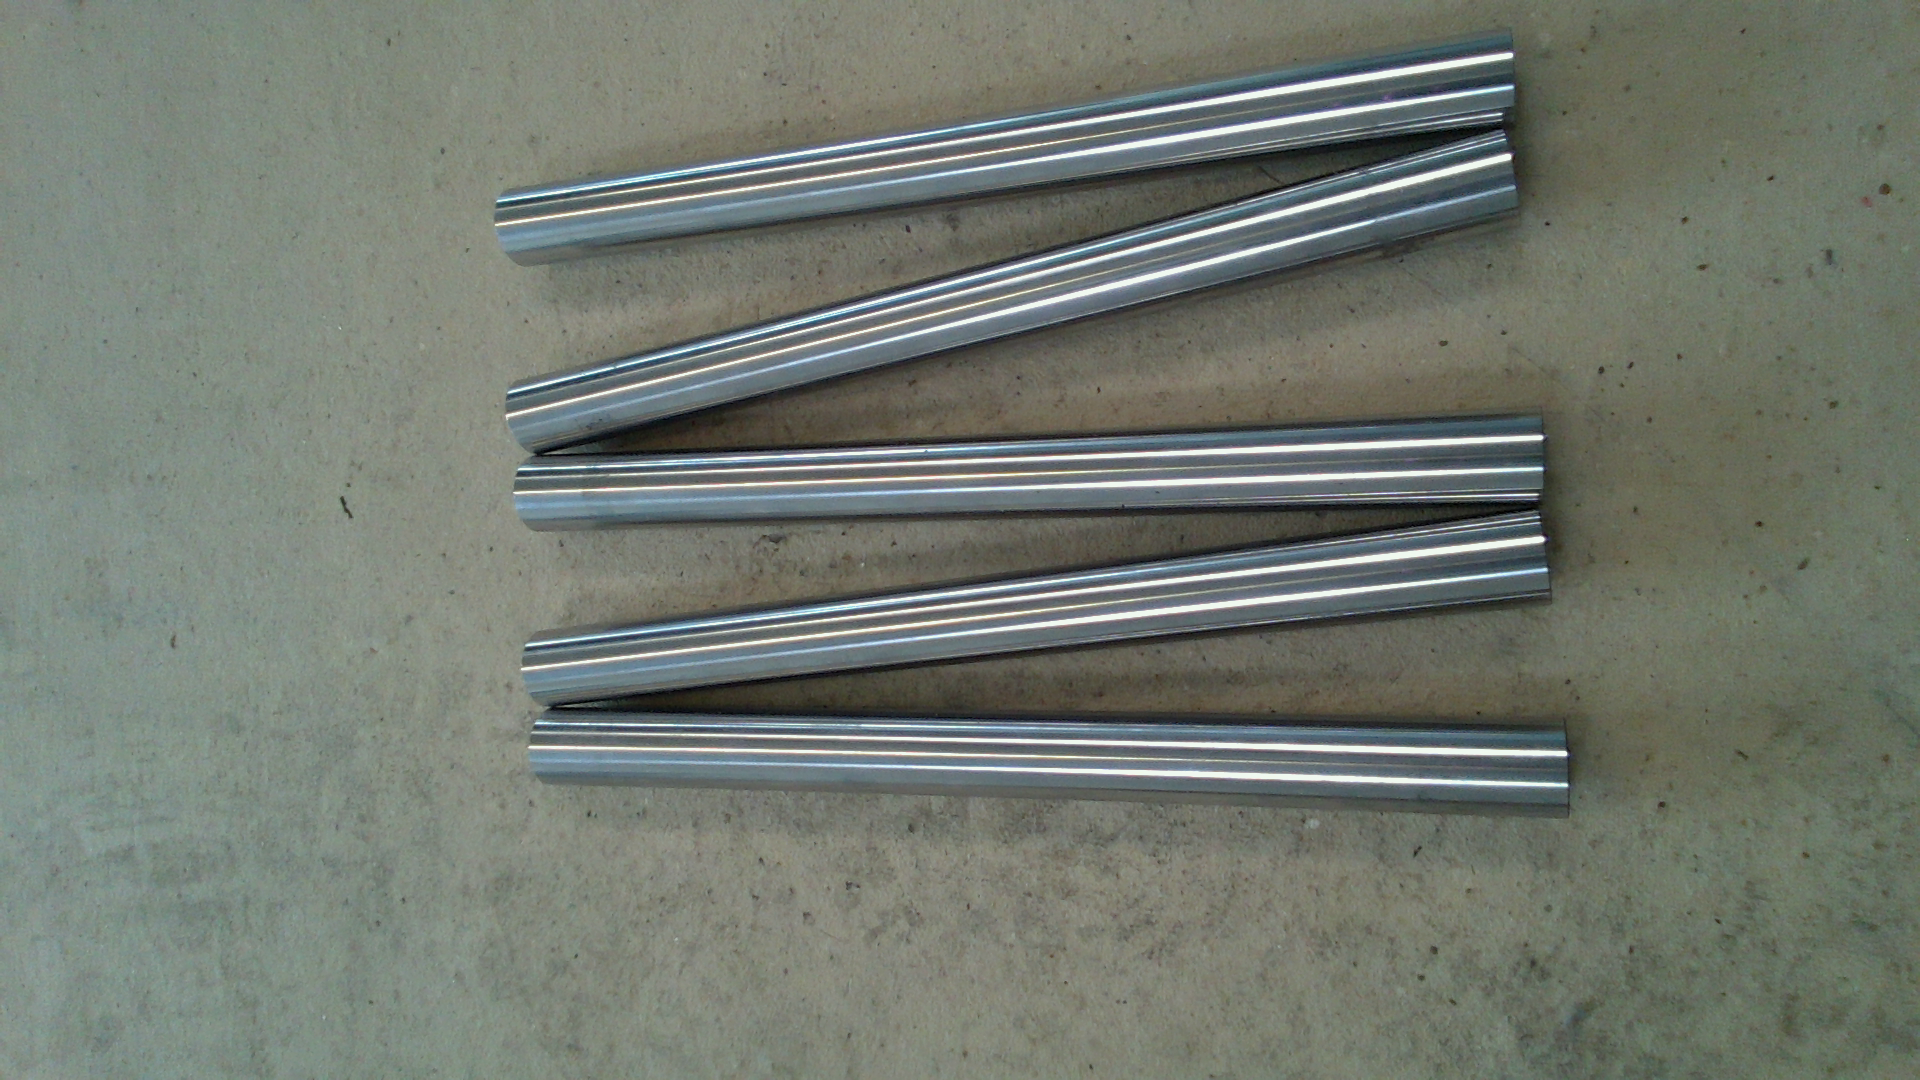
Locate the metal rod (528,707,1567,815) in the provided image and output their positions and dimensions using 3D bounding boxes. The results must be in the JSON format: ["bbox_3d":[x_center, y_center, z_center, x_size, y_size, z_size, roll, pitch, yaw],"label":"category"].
[{"bbox_3d":[0.010,0.061,0.393,0.299,0.025,0.025,-2,89,20],"label":"metal rod"}]

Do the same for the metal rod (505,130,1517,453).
[{"bbox_3d":[-0.001,-0.065,0.396,0.299,0.025,0.025,-10,87,20],"label":"metal rod"}]

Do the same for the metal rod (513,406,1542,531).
[{"bbox_3d":[0.004,-0.018,0.394,0.299,0.025,0.025,-1,90,20],"label":"metal rod"}]

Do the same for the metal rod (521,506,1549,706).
[{"bbox_3d":[0.006,0.022,0.394,0.299,0.025,0.025,-8,87,20],"label":"metal rod"}]

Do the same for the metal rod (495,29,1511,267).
[{"bbox_3d":[-0.002,-0.108,0.397,0.299,0.025,0.025,-3,89,20],"label":"metal rod"}]
